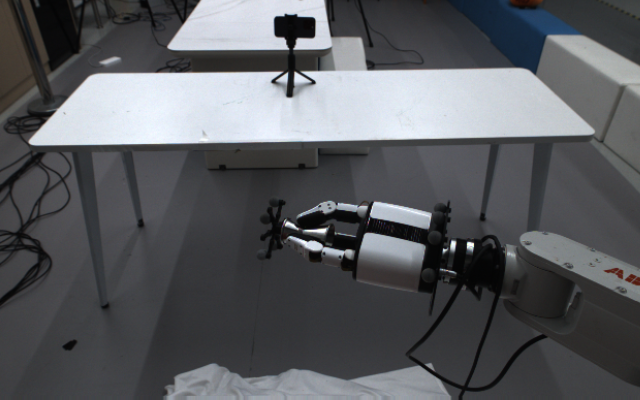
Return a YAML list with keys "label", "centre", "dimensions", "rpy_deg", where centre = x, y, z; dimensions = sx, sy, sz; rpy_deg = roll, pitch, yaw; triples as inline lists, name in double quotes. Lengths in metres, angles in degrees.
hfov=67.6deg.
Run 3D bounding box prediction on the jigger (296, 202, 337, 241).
- label: "jigger"
  centre: [-0.012, 0.047, 0.692]
  dimensions: [0.071, 0.043, 0.043]
  rpy_deg: [9, 35, 17]
